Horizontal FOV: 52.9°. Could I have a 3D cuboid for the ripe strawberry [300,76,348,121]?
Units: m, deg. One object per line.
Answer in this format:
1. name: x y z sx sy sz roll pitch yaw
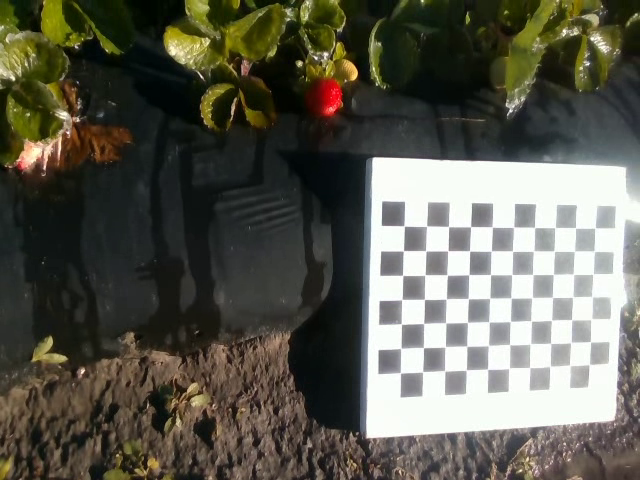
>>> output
1. ripe strawberry: 0.005 -0.101 0.474 0.039 0.040 0.039 -9 30 -4
